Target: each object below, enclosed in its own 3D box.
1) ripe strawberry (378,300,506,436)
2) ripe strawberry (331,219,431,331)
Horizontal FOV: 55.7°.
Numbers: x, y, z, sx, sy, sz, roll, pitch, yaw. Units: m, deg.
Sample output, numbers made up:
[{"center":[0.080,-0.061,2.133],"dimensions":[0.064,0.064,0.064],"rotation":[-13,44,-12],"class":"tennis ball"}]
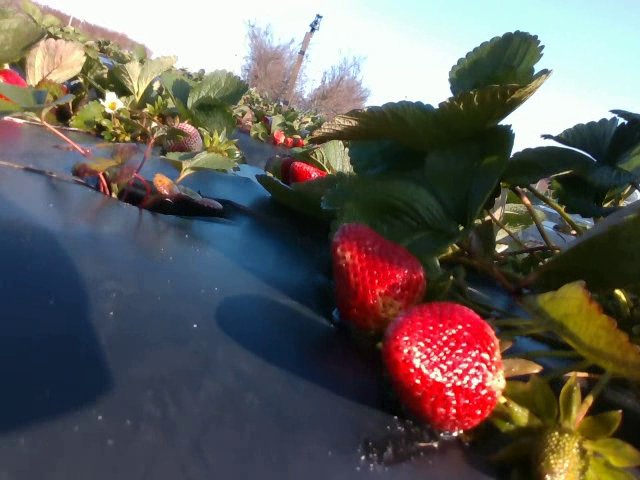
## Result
[{"center":[0.036,0.034,0.180],"dimensions":[0.038,0.043,0.053],"rotation":[-44,-37,15],"class":"ripe strawberry"},{"center":[0.023,0.015,0.247],"dimensions":[0.048,0.054,0.039],"rotation":[-39,-2,-40],"class":"ripe strawberry"}]
